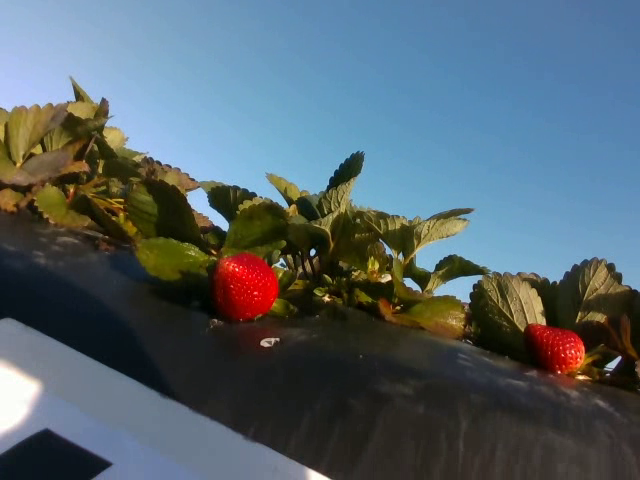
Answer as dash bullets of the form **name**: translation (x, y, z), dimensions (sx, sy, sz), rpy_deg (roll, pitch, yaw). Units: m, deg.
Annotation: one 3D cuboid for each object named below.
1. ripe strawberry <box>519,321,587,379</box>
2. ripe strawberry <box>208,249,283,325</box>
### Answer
- **ripe strawberry**: translation (0.138, 0.062, 0.362), dimensions (0.046, 0.036, 0.034), rpy_deg (31, 16, 12)
- **ripe strawberry**: translation (-0.042, 0.021, 0.320), dimensions (0.045, 0.042, 0.055), rpy_deg (29, -14, 22)
